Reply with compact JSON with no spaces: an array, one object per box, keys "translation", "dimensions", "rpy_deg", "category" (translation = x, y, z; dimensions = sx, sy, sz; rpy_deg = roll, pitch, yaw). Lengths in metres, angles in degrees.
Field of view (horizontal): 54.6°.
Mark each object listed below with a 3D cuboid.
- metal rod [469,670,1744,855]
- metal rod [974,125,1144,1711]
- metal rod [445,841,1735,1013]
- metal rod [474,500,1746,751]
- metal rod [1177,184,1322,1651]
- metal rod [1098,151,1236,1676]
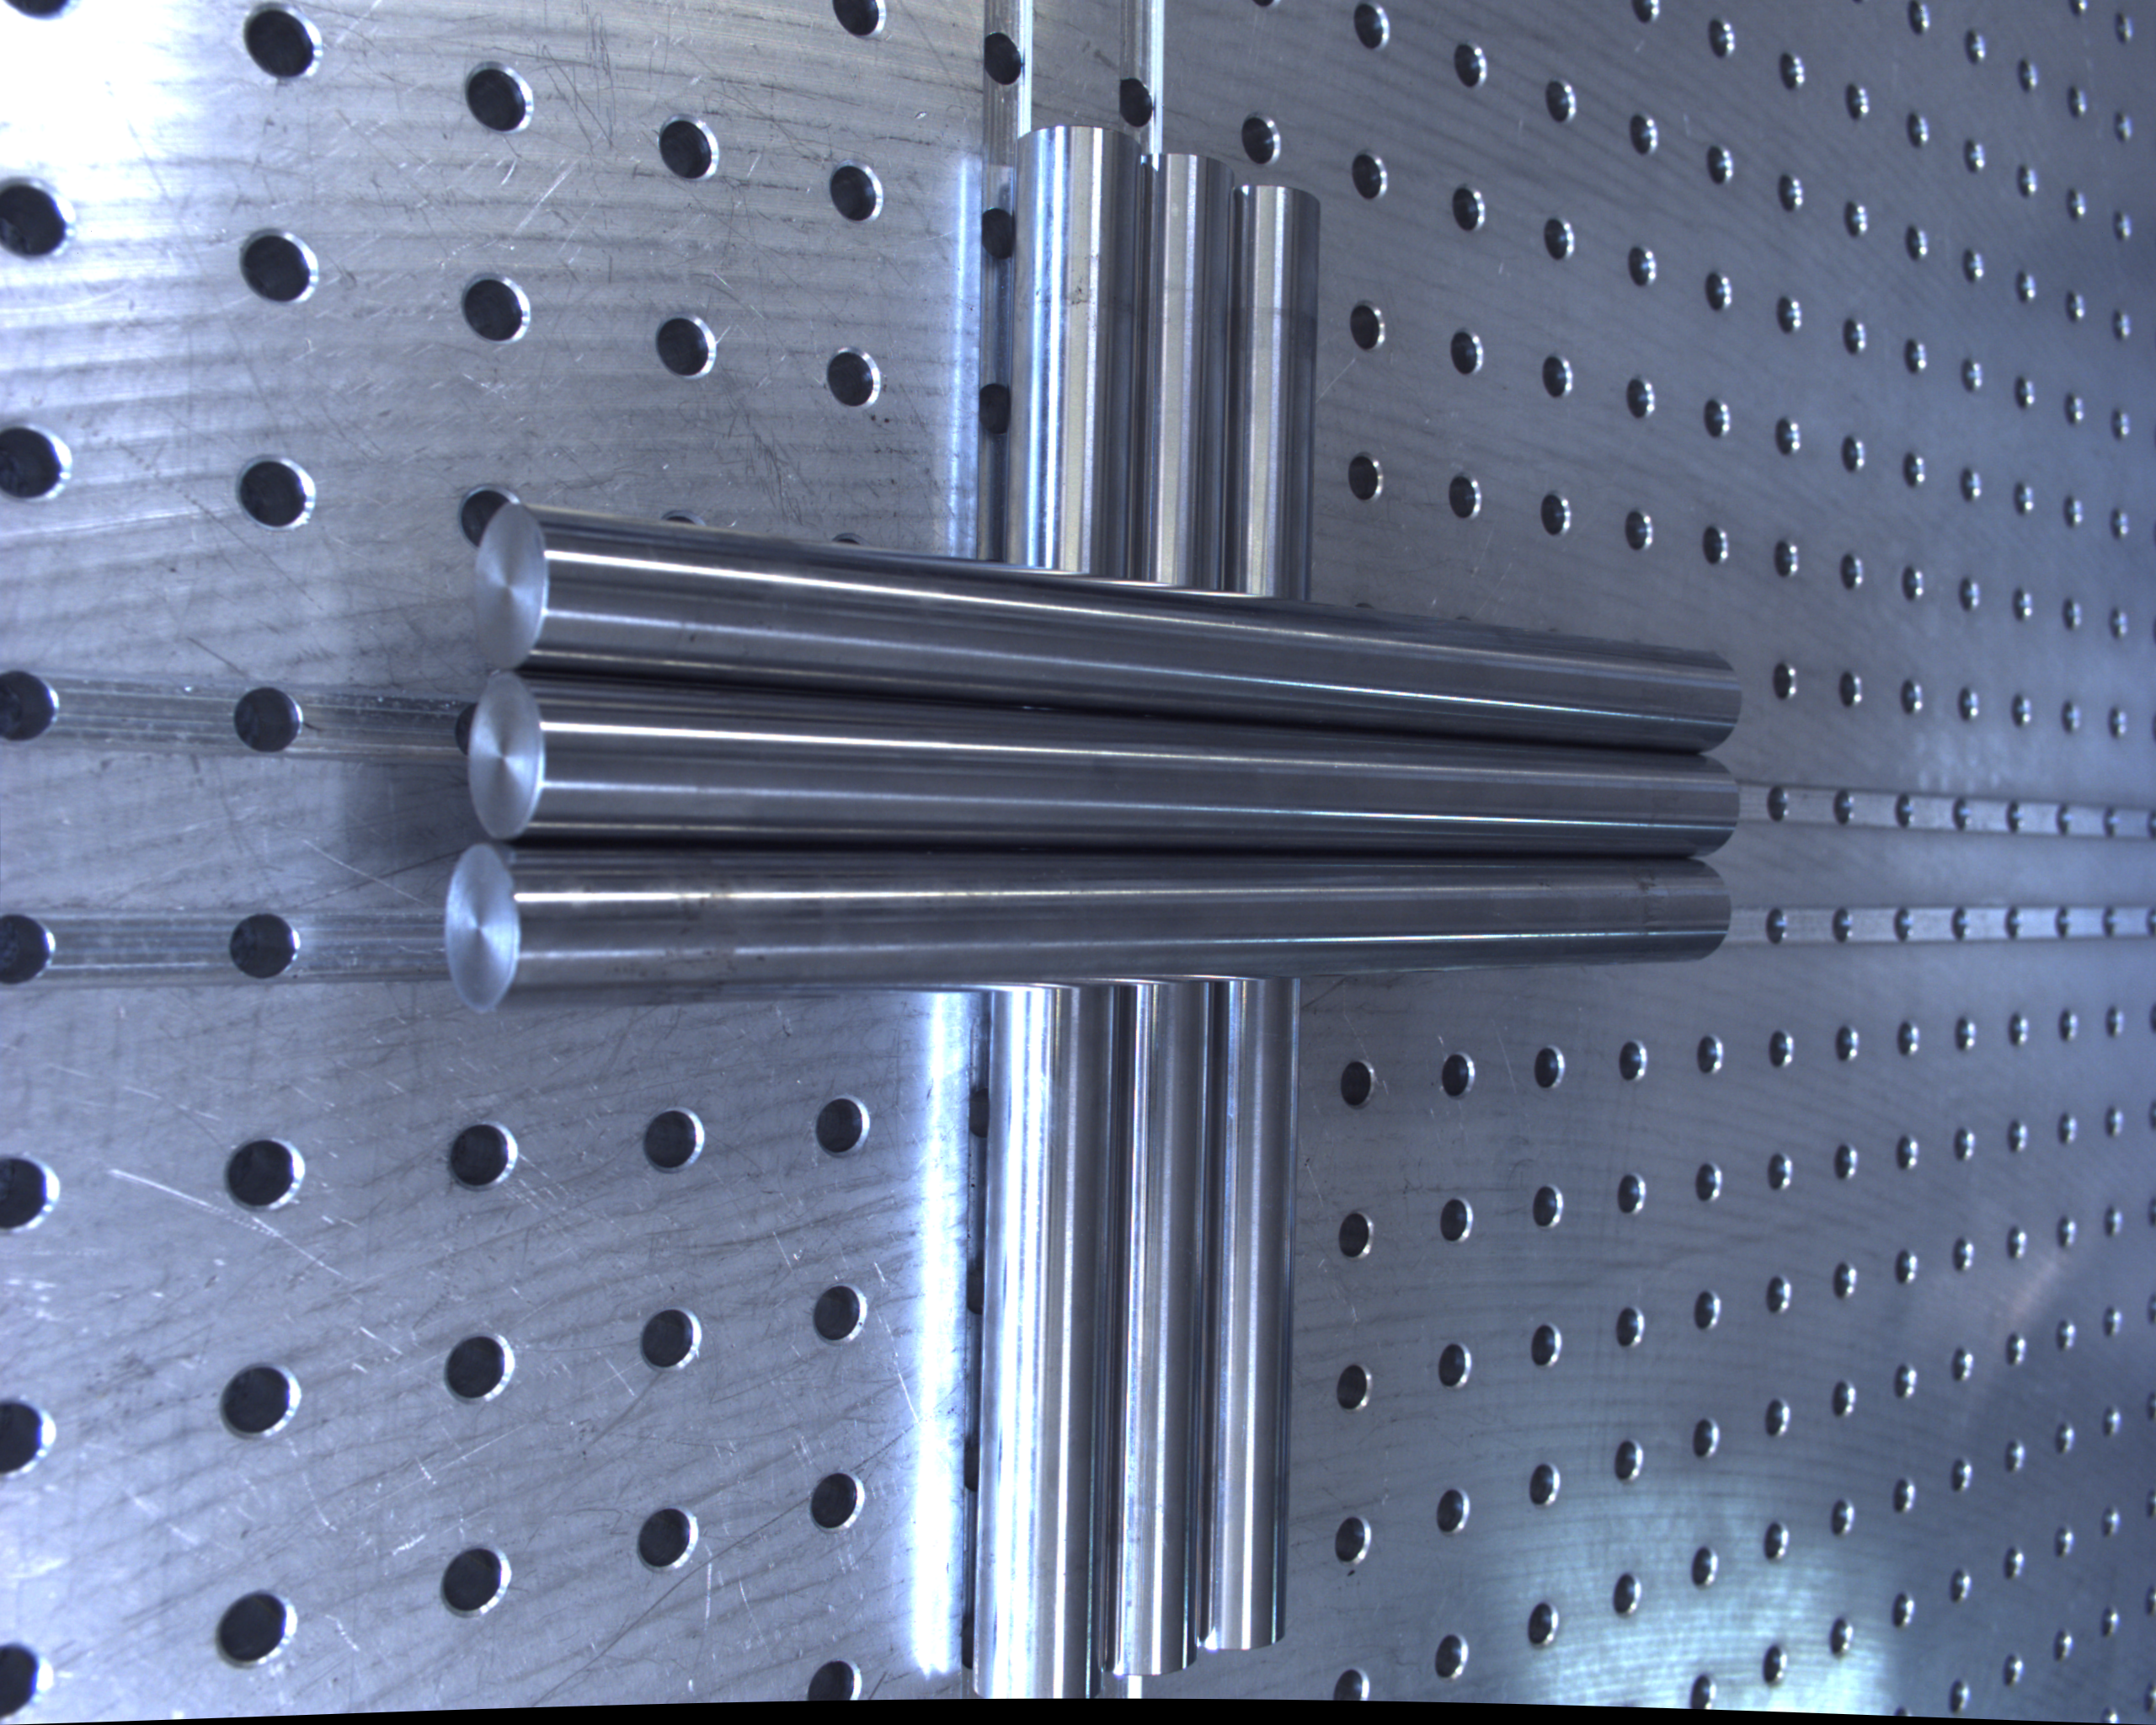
[{"translation":[0.032,-0.015,0.402],"dimensions":[0.302,0.025,0.025],"rpy_deg":[1,90,-40],"category":"metal rod"},{"translation":[-0.004,0.010,0.405],"dimensions":[0.025,0.025,0.298],"rpy_deg":[2,89,-40],"category":"metal rod"},{"translation":[0.029,0.010,0.400],"dimensions":[0.302,0.025,0.025],"rpy_deg":[1,90,-40],"category":"metal rod"},{"translation":[0.033,-0.040,0.403],"dimensions":[0.302,0.025,0.025],"rpy_deg":[1,90,-40],"category":"metal rod"},{"translation":[0.035,0.010,0.437],"dimensions":[0.025,0.025,0.298],"rpy_deg":[2,89,-40],"category":"metal rod"},{"translation":[0.015,0.009,0.421],"dimensions":[0.025,0.025,0.298],"rpy_deg":[2,89,-40],"category":"metal rod"}]
